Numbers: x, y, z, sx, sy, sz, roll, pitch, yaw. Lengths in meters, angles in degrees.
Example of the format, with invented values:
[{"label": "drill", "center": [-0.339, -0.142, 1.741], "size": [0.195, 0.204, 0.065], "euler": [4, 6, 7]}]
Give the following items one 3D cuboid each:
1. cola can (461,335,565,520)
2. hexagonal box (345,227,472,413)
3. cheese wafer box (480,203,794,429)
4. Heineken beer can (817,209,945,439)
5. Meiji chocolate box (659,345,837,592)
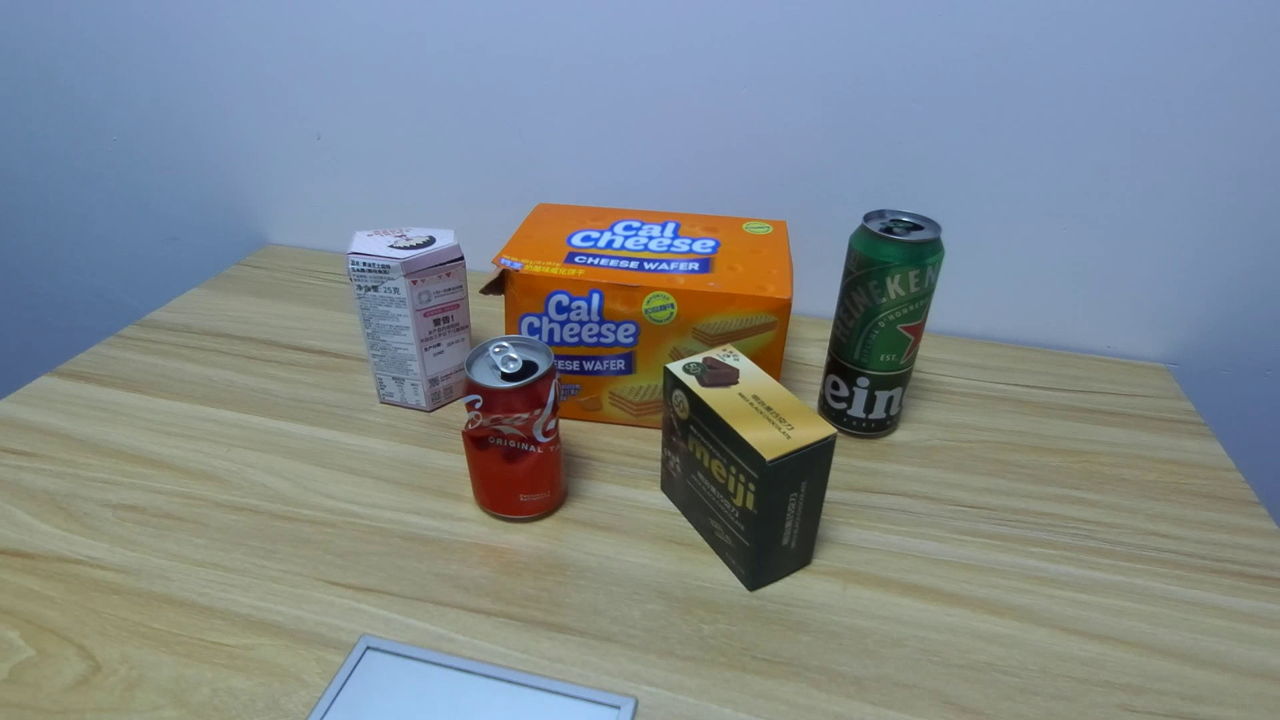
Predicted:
[{"label": "cola can", "center": [-0.083, 0.045, 0.469], "size": [0.066, 0.117, 0.066], "euler": [0, 33, -1]}, {"label": "hexagonal box", "center": [-0.181, -0.036, 0.572], "size": [0.092, 0.135, 0.084], "euler": [-26, 42, -36]}, {"label": "cheese wafer box", "center": [0.006, -0.040, 0.583], "size": [0.227, 0.137, 0.149], "euler": [6, 34, 6]}, {"label": "Heineken beer can", "center": [0.180, -0.024, 0.535], "size": [0.067, 0.169, 0.067], "euler": [1, 32, 0]}, {"label": "Meiji chocolate box", "center": [0.063, 0.065, 0.448], "size": [0.056, 0.109, 0.109], "euler": [-18, 38, -24]}]
